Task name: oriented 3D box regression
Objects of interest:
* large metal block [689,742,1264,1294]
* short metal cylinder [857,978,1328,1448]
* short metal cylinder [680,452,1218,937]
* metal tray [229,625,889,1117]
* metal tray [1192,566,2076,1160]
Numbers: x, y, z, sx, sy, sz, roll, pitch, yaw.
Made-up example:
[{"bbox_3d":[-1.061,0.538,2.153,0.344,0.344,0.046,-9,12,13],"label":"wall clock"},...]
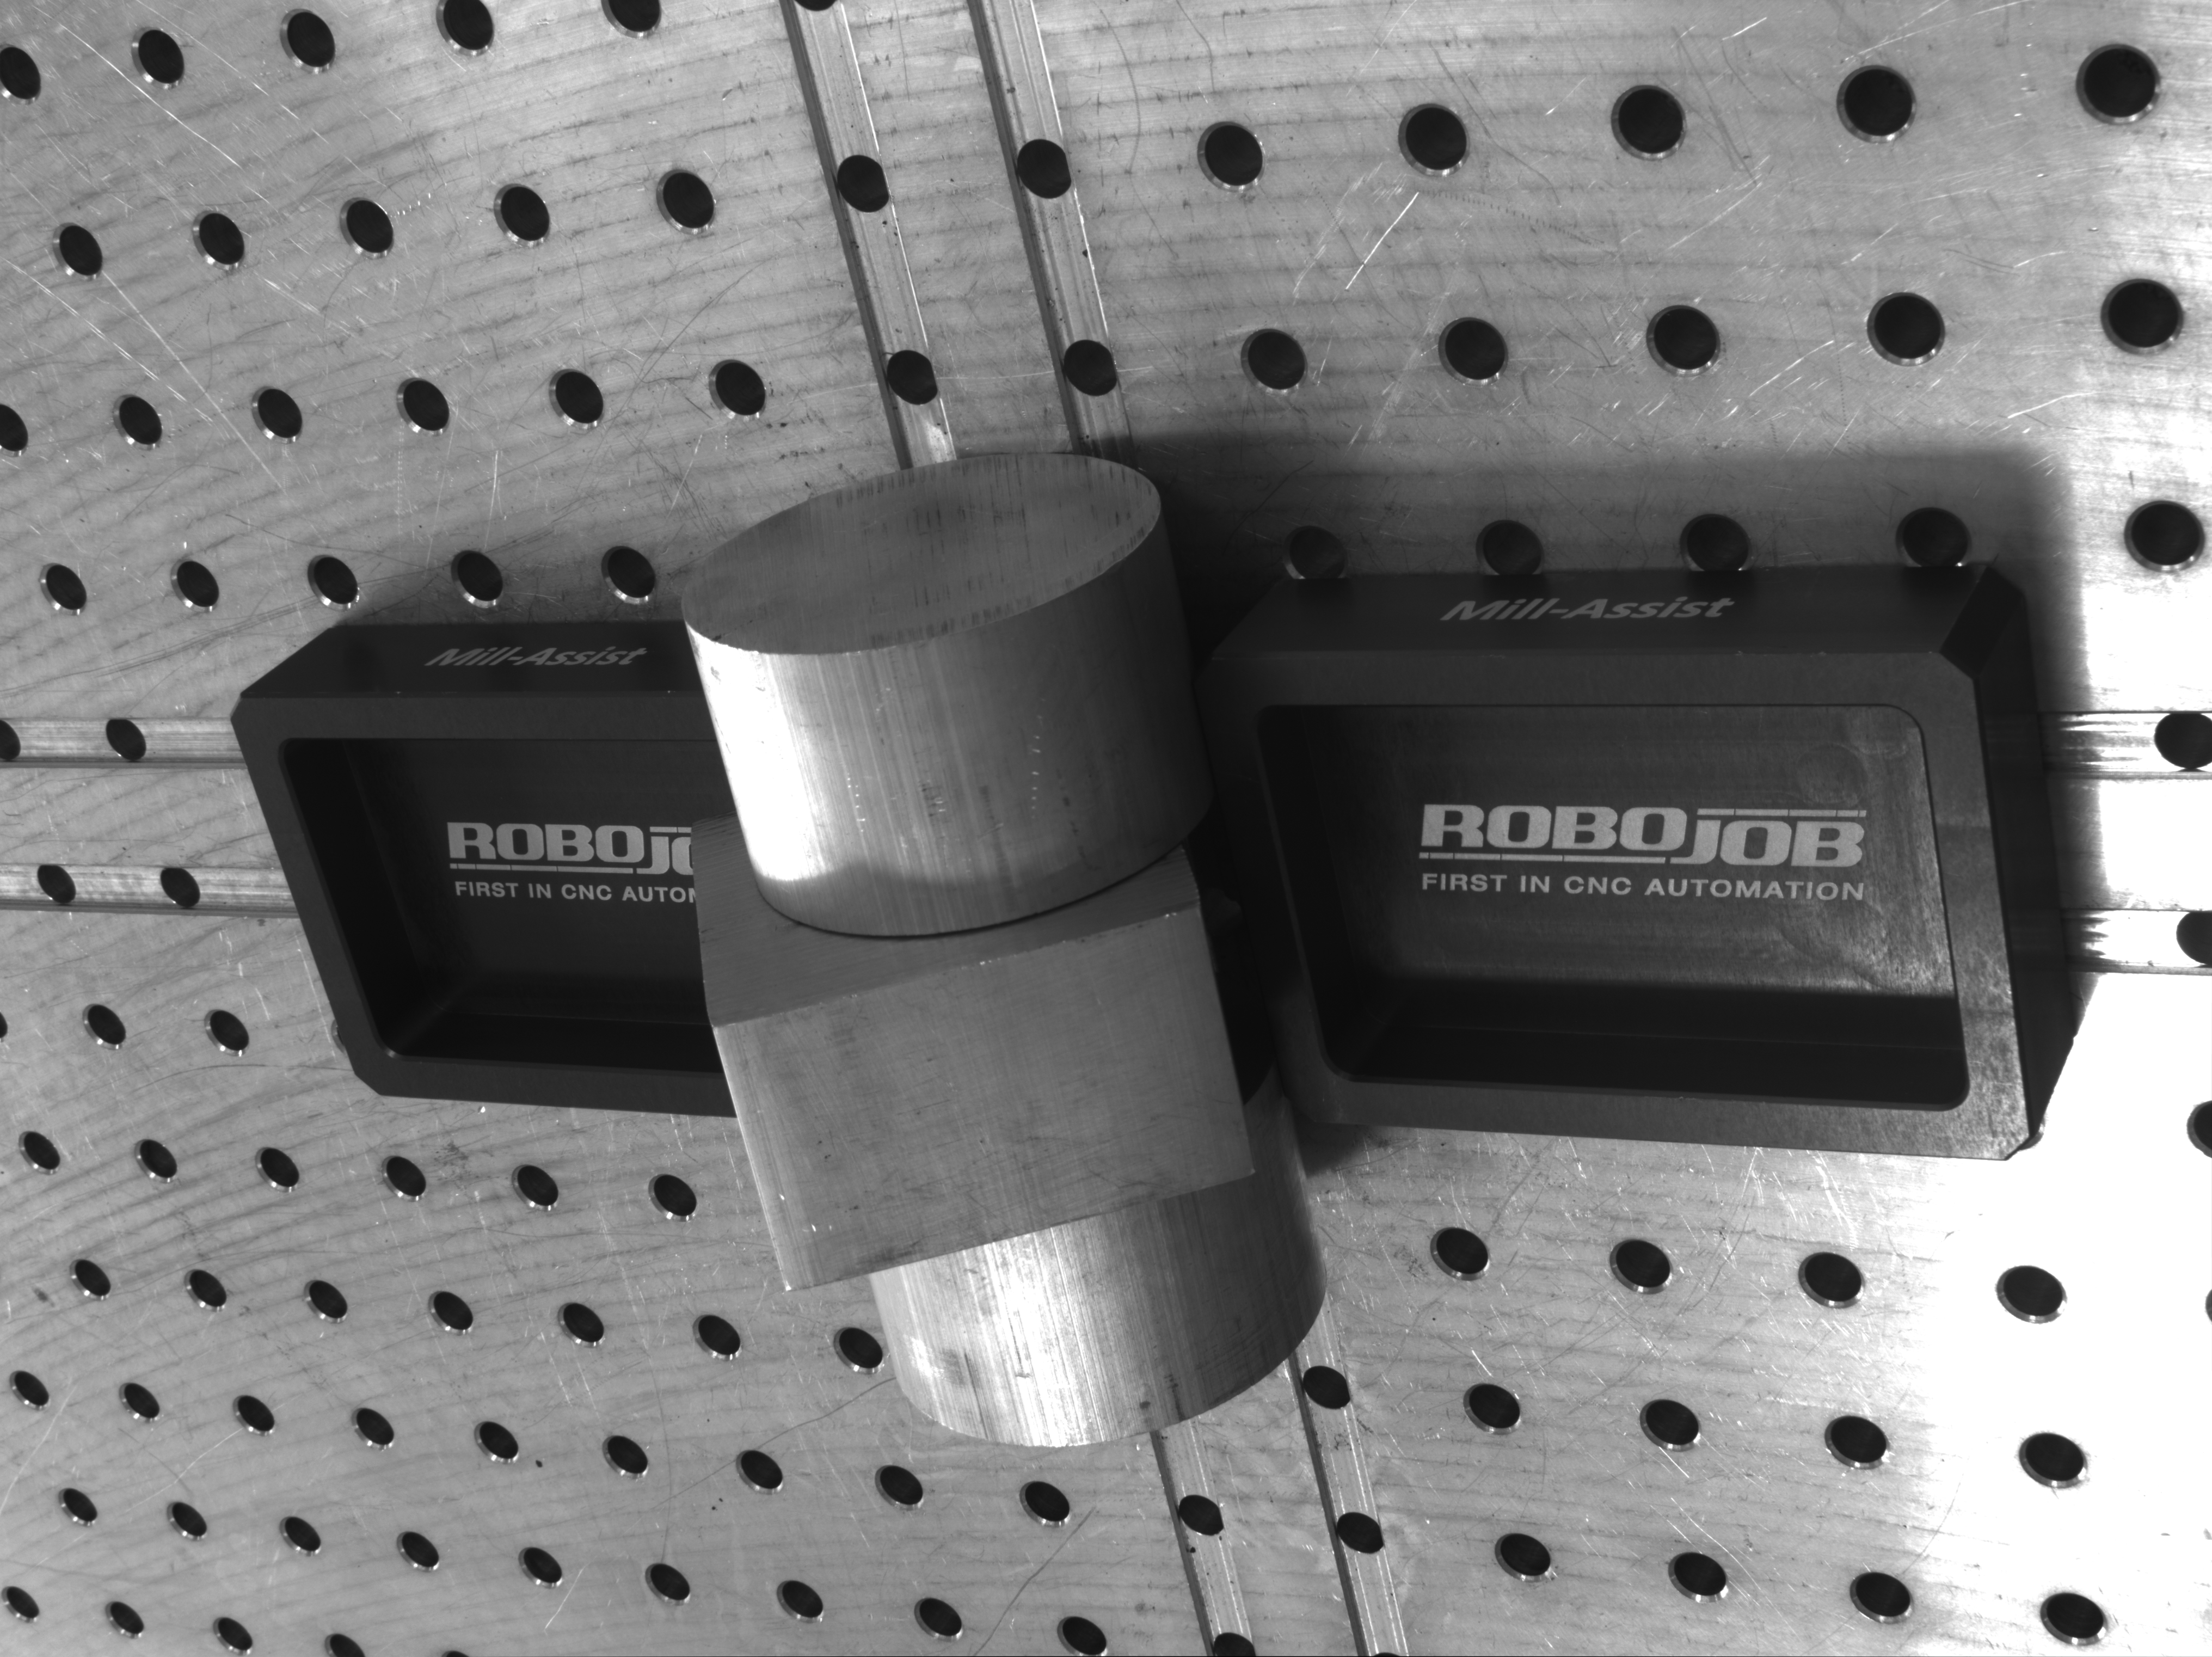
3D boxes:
[{"bbox_3d":[-0.024,0.028,0.621,0.080,0.080,0.050,-14,115,-3],"label":"large metal block"},{"bbox_3d":[-0.004,0.065,0.652,0.080,0.080,0.050,2,119,28],"label":"short metal cylinder"},{"bbox_3d":[-0.025,-0.024,0.609,0.080,0.080,0.050,1,119,28],"label":"short metal cylinder"},{"bbox_3d":[-0.096,0.008,0.699,0.130,0.030,0.090,1,119,28],"label":"metal tray"},{"bbox_3d":[0.086,0.005,0.599,0.130,0.030,0.090,1,119,28],"label":"metal tray"}]
